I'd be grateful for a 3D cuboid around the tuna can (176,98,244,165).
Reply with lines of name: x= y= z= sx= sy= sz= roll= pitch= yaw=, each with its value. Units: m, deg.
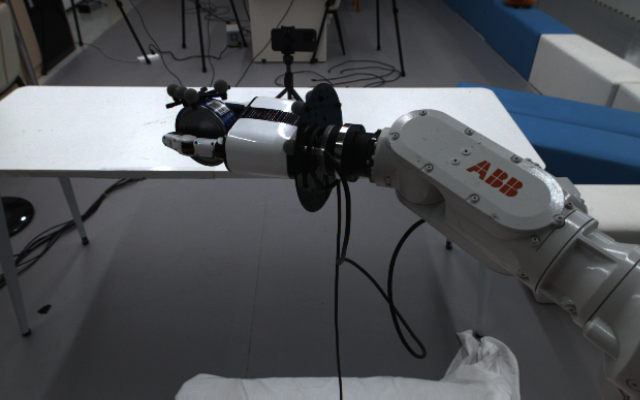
tuna can: x=-0.146 y=-0.090 z=0.643 sx=0.085 sy=0.085 sz=0.034 roll=17 pitch=35 yaw=20
